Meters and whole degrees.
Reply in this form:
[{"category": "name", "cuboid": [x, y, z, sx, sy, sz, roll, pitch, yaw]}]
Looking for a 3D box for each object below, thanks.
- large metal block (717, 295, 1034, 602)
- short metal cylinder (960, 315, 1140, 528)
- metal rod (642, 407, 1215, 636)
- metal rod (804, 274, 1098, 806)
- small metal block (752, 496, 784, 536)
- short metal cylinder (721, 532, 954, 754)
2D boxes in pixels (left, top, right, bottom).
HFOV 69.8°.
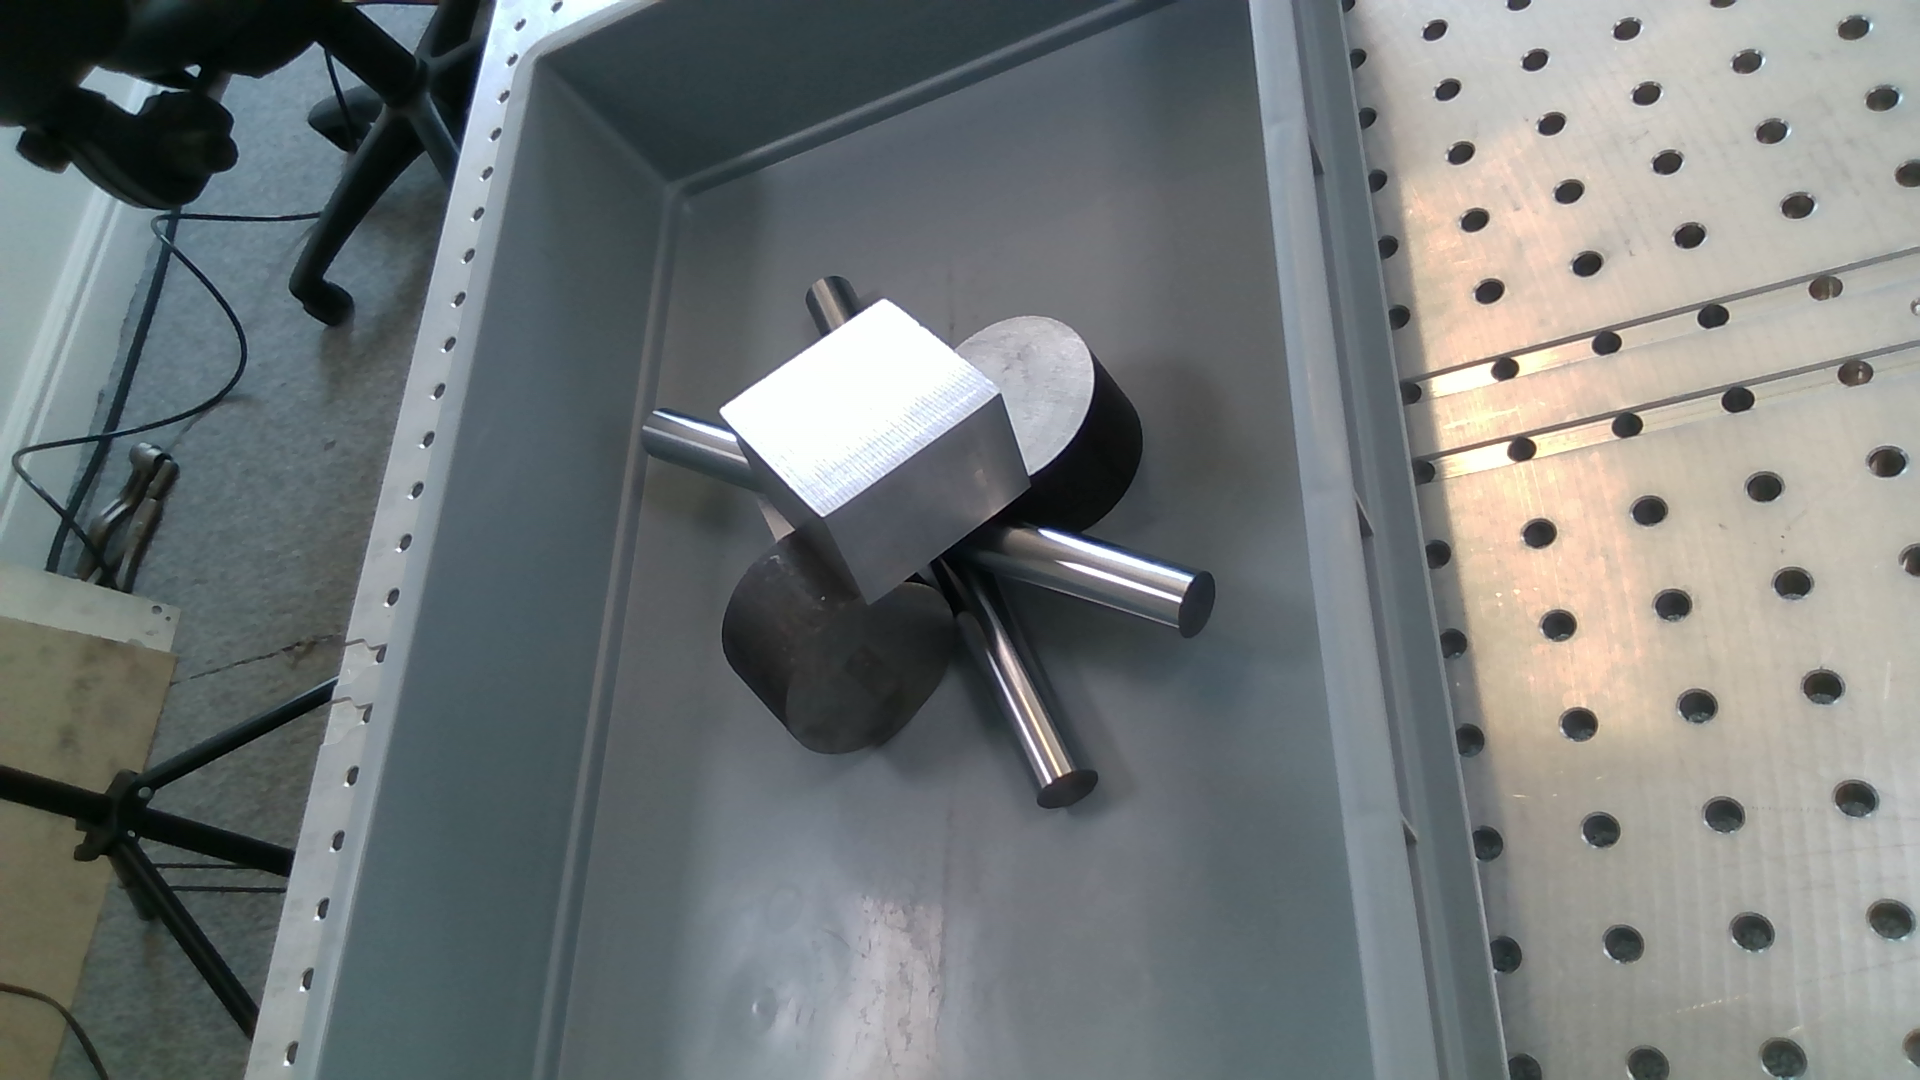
[{"category": "large metal block", "cuboid": [-0.032, -0.037, 0.526, 0.080, 0.050, 0.080, -36, 49, -12]}, {"category": "short metal cylinder", "cuboid": [0.029, -0.046, 0.575, 0.080, 0.050, 0.080, -14, 59, 25]}, {"category": "metal rod", "cuboid": [-0.030, -0.015, 0.579, 0.300, 0.025, 0.025, 18, 76, 37]}, {"category": "metal rod", "cuboid": [-0.013, -0.015, 0.601, 0.025, 0.025, 0.299, -35, 52, 11]}, {"category": "small metal block", "cuboid": [-0.061, -0.015, 0.630, 0.050, 0.025, 0.050, -38, 52, 9]}, {"category": "short metal cylinder", "cuboid": [-0.049, 0.039, 0.559, 0.080, 0.080, 0.050, -50, 50, -1]}]
